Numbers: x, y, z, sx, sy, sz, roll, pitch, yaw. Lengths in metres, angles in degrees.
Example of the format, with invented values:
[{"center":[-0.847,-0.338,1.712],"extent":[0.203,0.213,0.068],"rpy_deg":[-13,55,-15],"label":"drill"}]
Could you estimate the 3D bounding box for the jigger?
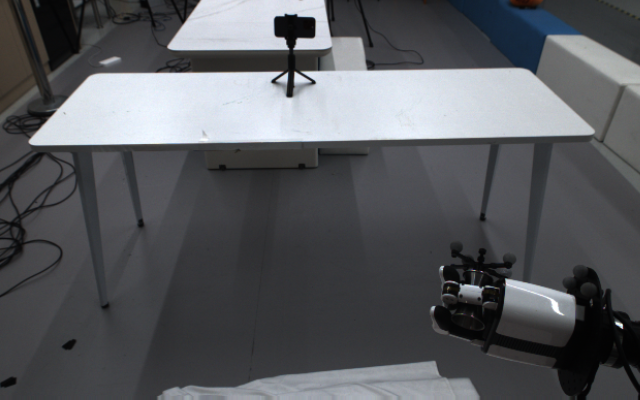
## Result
[{"center":[0.205,0.130,0.639],"extent":[0.043,0.043,0.071],"rpy_deg":[13,57,15],"label":"jigger"}]
